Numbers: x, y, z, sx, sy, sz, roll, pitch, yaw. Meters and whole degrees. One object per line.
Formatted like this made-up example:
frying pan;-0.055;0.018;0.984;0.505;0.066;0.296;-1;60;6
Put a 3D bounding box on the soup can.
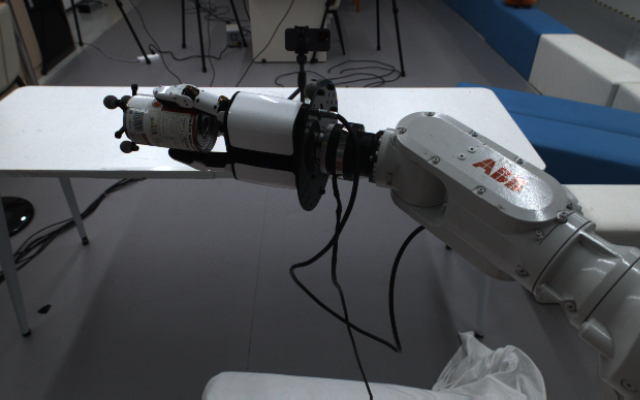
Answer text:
soup can;-0.192;-0.100;0.632;0.101;0.067;0.067;8;35;10
